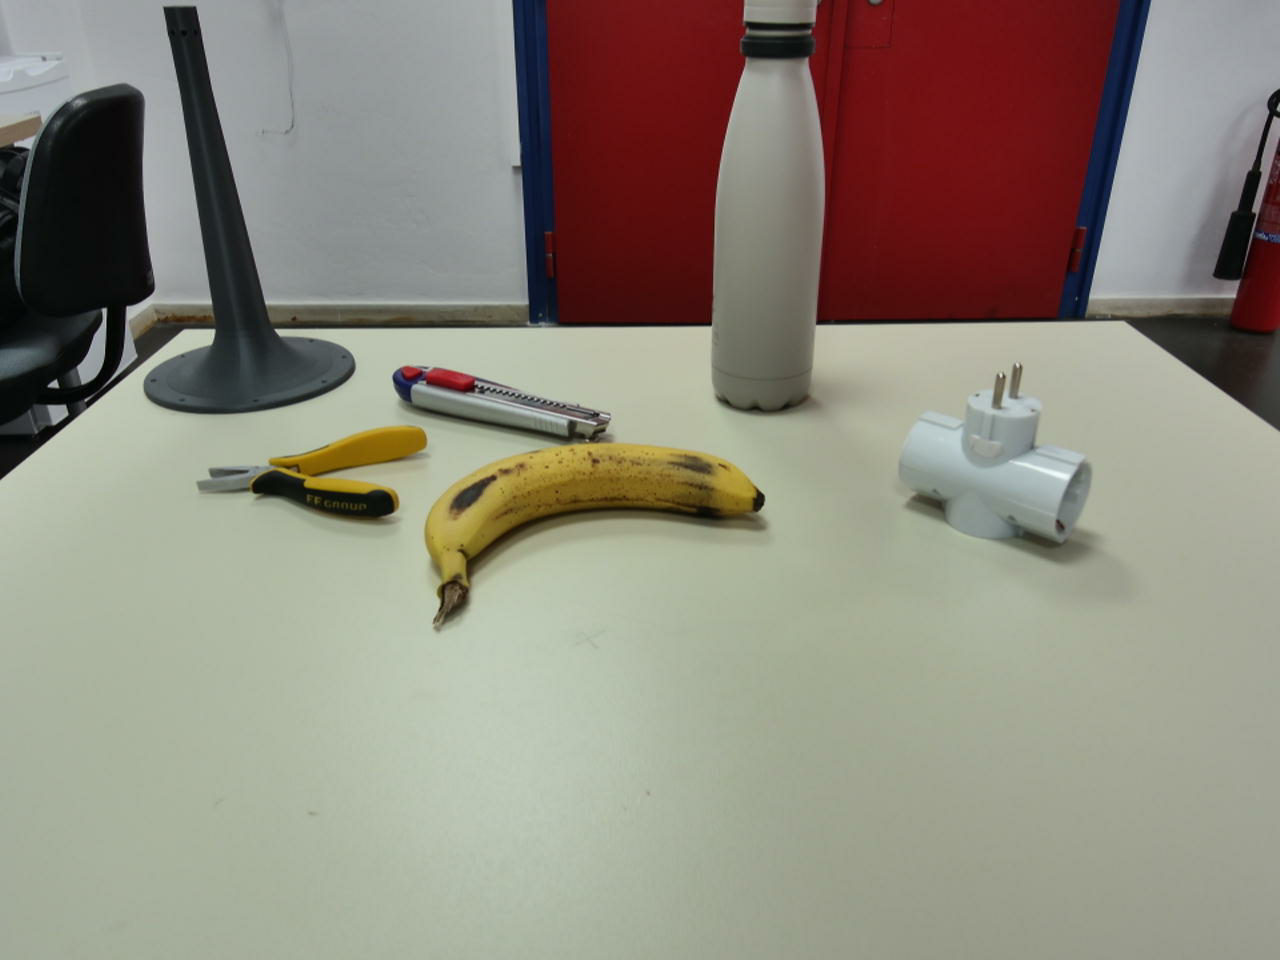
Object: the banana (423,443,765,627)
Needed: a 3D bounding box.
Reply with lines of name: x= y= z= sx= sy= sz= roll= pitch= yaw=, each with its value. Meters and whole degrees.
banana: x=-0.033 y=0.013 z=0.539 sx=0.186 sy=0.038 sz=0.097 roll=-13 pitch=29 yaw=-25
